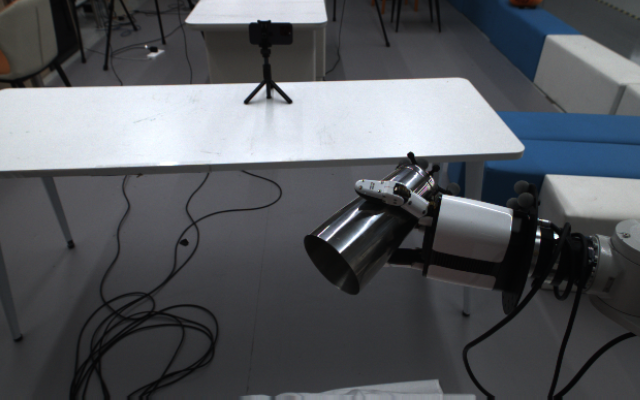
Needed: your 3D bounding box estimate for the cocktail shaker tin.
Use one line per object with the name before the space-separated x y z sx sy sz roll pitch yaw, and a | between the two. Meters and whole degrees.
cocktail shaker tin | 0.072 0.023 0.608 0.170 0.093 0.093 -38 49 -23
